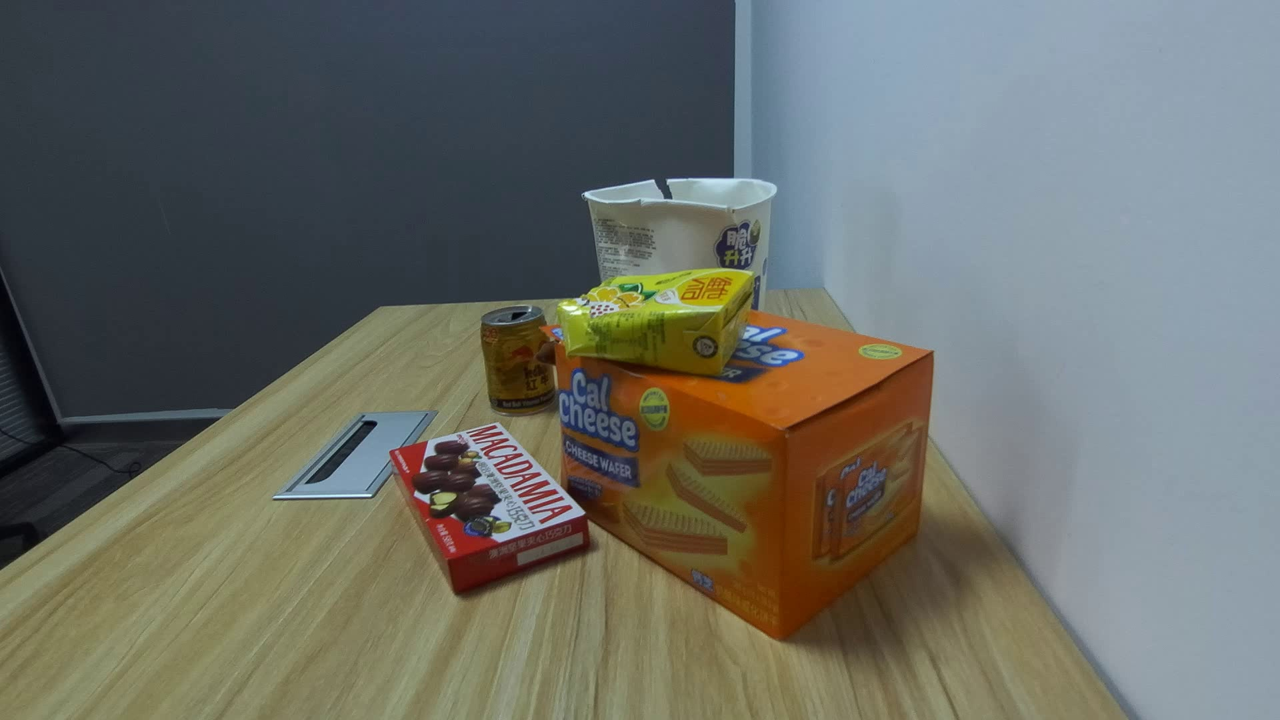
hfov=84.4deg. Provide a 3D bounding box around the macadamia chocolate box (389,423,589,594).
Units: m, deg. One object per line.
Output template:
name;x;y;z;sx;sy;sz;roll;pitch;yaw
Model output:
macadamia chocolate box;-0.117;0.099;0.520;0.096;0.027;0.177;-13;23;-27

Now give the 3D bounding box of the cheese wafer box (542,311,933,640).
cheese wafer box;0.054;0.045;0.476;0.150;0.137;0.226;-20;27;-36

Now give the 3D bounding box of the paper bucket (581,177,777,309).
paper bucket;0.044;-0.072;0.692;0.202;0.197;0.146;12;26;34

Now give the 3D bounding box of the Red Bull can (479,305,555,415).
Red Bull can;-0.118;0.000;0.691;0.068;0.093;0.068;-3;17;1

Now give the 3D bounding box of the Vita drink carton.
Vita drink carton;0.012;-0.025;0.440;0.108;0.042;0.087;4;30;28
